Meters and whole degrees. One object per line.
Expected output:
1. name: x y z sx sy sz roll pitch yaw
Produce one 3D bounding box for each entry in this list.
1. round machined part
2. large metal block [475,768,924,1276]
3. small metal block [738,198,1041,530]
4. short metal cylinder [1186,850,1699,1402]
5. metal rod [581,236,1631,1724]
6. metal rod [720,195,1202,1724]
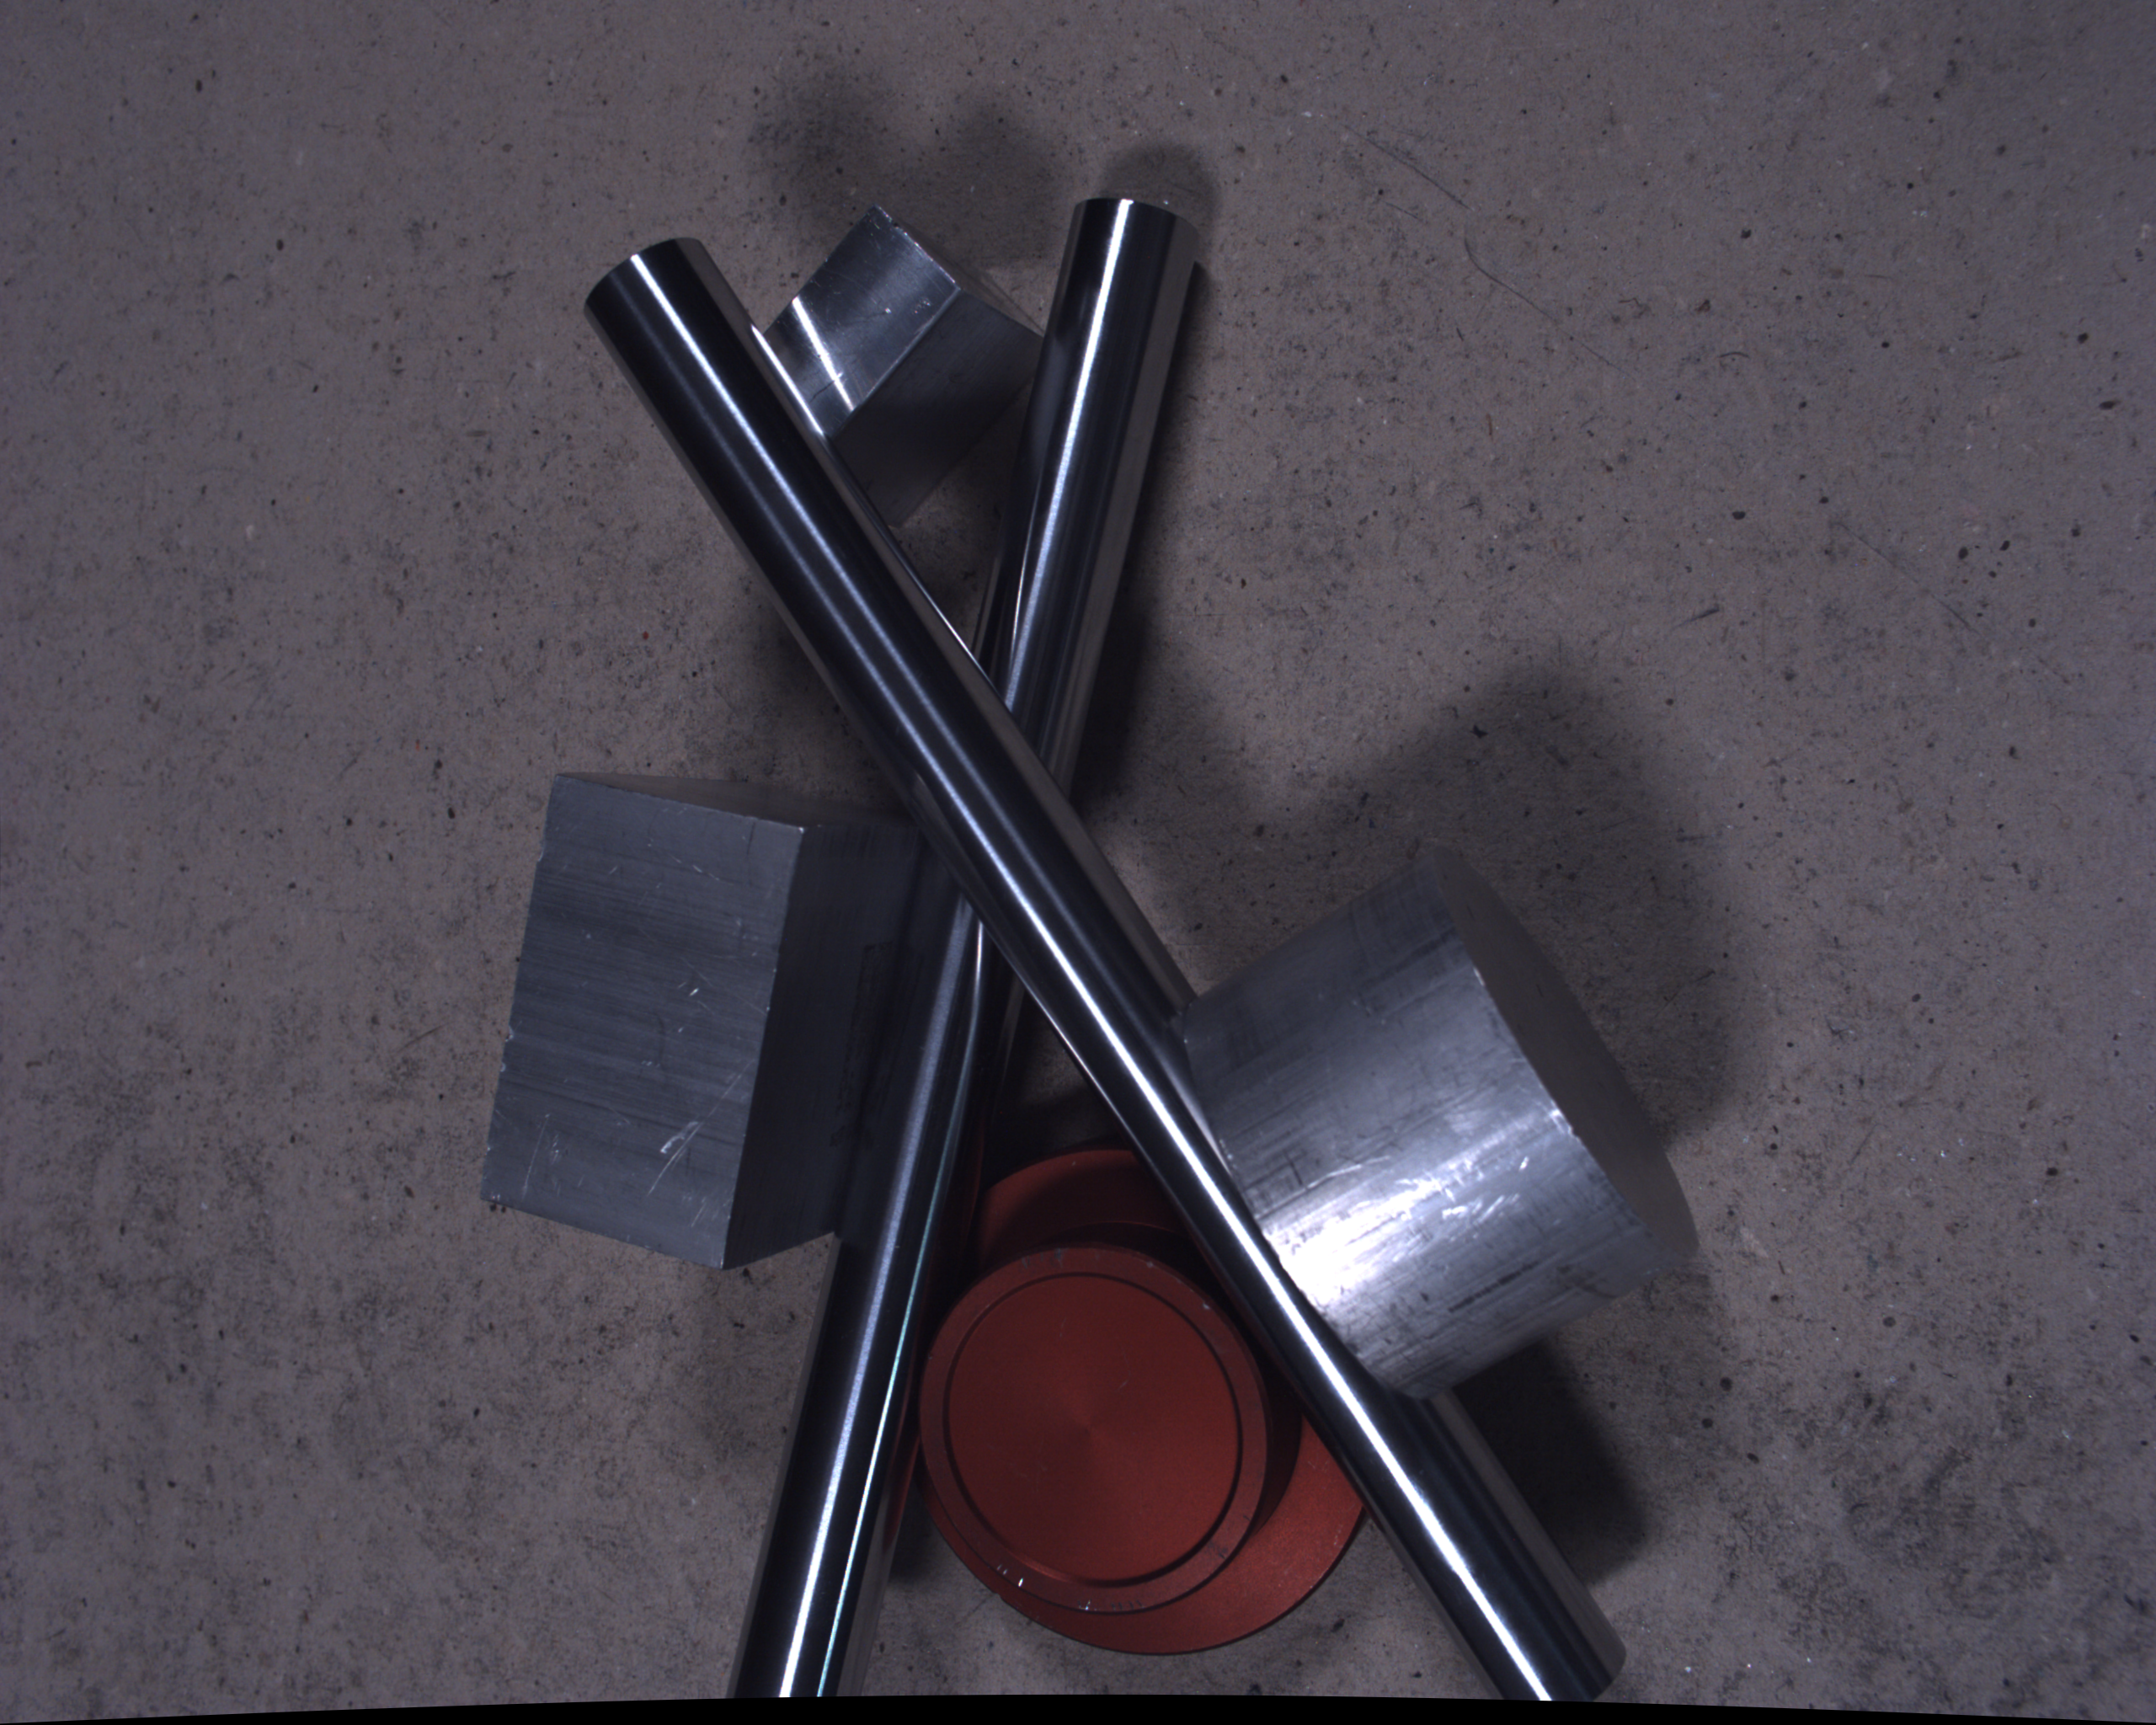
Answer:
1. round machined part: 0.010 0.103 0.398 0.098 0.042 0.097 0 90 19
2. large metal block: -0.064 0.027 0.403 0.050 0.080 0.079 13 94 19
3. small metal block: -0.037 -0.096 0.409 0.050 0.050 0.025 -47 76 14
4. short metal cylinder: 0.063 0.045 0.359 0.050 0.080 0.080 -34 80 17
5. metal rod: 0.004 0.020 0.372 0.025 0.025 0.299 -34 88 16
6. metal rod: -0.022 0.020 0.401 0.025 0.025 0.298 12 88 19
